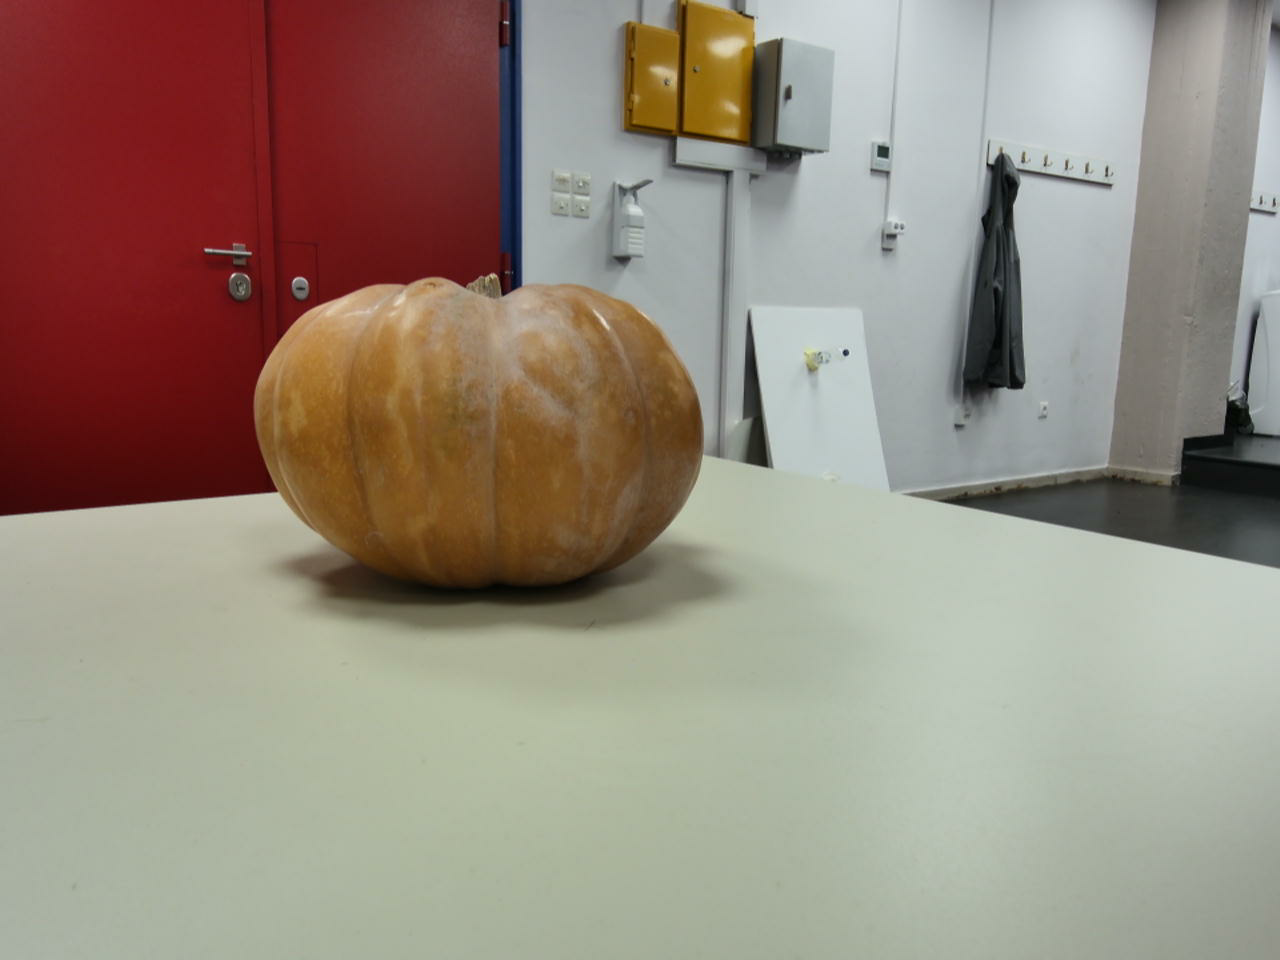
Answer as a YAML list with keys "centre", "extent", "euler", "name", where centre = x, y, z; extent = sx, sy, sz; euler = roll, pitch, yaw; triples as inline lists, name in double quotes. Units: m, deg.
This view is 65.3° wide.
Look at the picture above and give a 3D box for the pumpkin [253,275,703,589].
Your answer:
- centre: [-0.094, -0.032, 0.608]
  extent: [0.277, 0.181, 0.277]
  euler: [0, 8, 0]
  name: "pumpkin"
